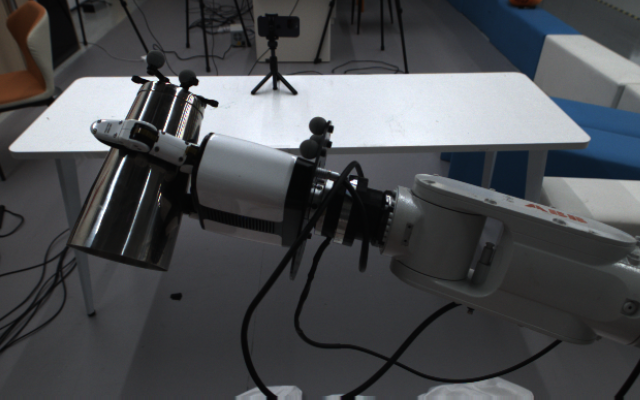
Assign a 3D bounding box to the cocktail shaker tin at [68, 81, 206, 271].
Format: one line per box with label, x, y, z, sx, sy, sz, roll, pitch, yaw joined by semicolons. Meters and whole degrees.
cocktail shaker tin;-0.168;-0.023;0.471;0.093;0.093;0.170;10;73;11
